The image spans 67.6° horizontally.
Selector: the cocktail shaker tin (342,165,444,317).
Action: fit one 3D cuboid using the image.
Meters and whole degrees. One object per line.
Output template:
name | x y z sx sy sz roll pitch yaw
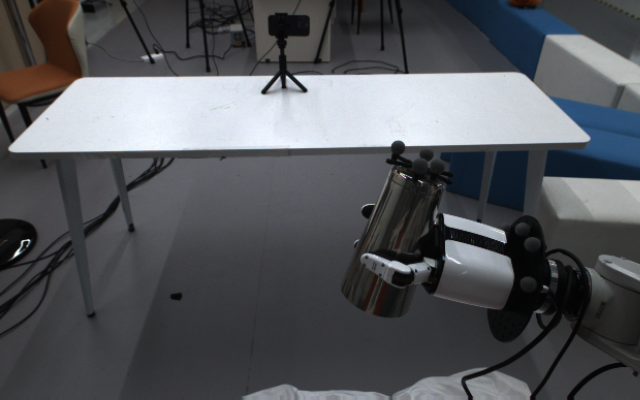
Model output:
cocktail shaker tin | 0.095 0.047 0.597 0.093 0.170 0.093 14 19 -5
